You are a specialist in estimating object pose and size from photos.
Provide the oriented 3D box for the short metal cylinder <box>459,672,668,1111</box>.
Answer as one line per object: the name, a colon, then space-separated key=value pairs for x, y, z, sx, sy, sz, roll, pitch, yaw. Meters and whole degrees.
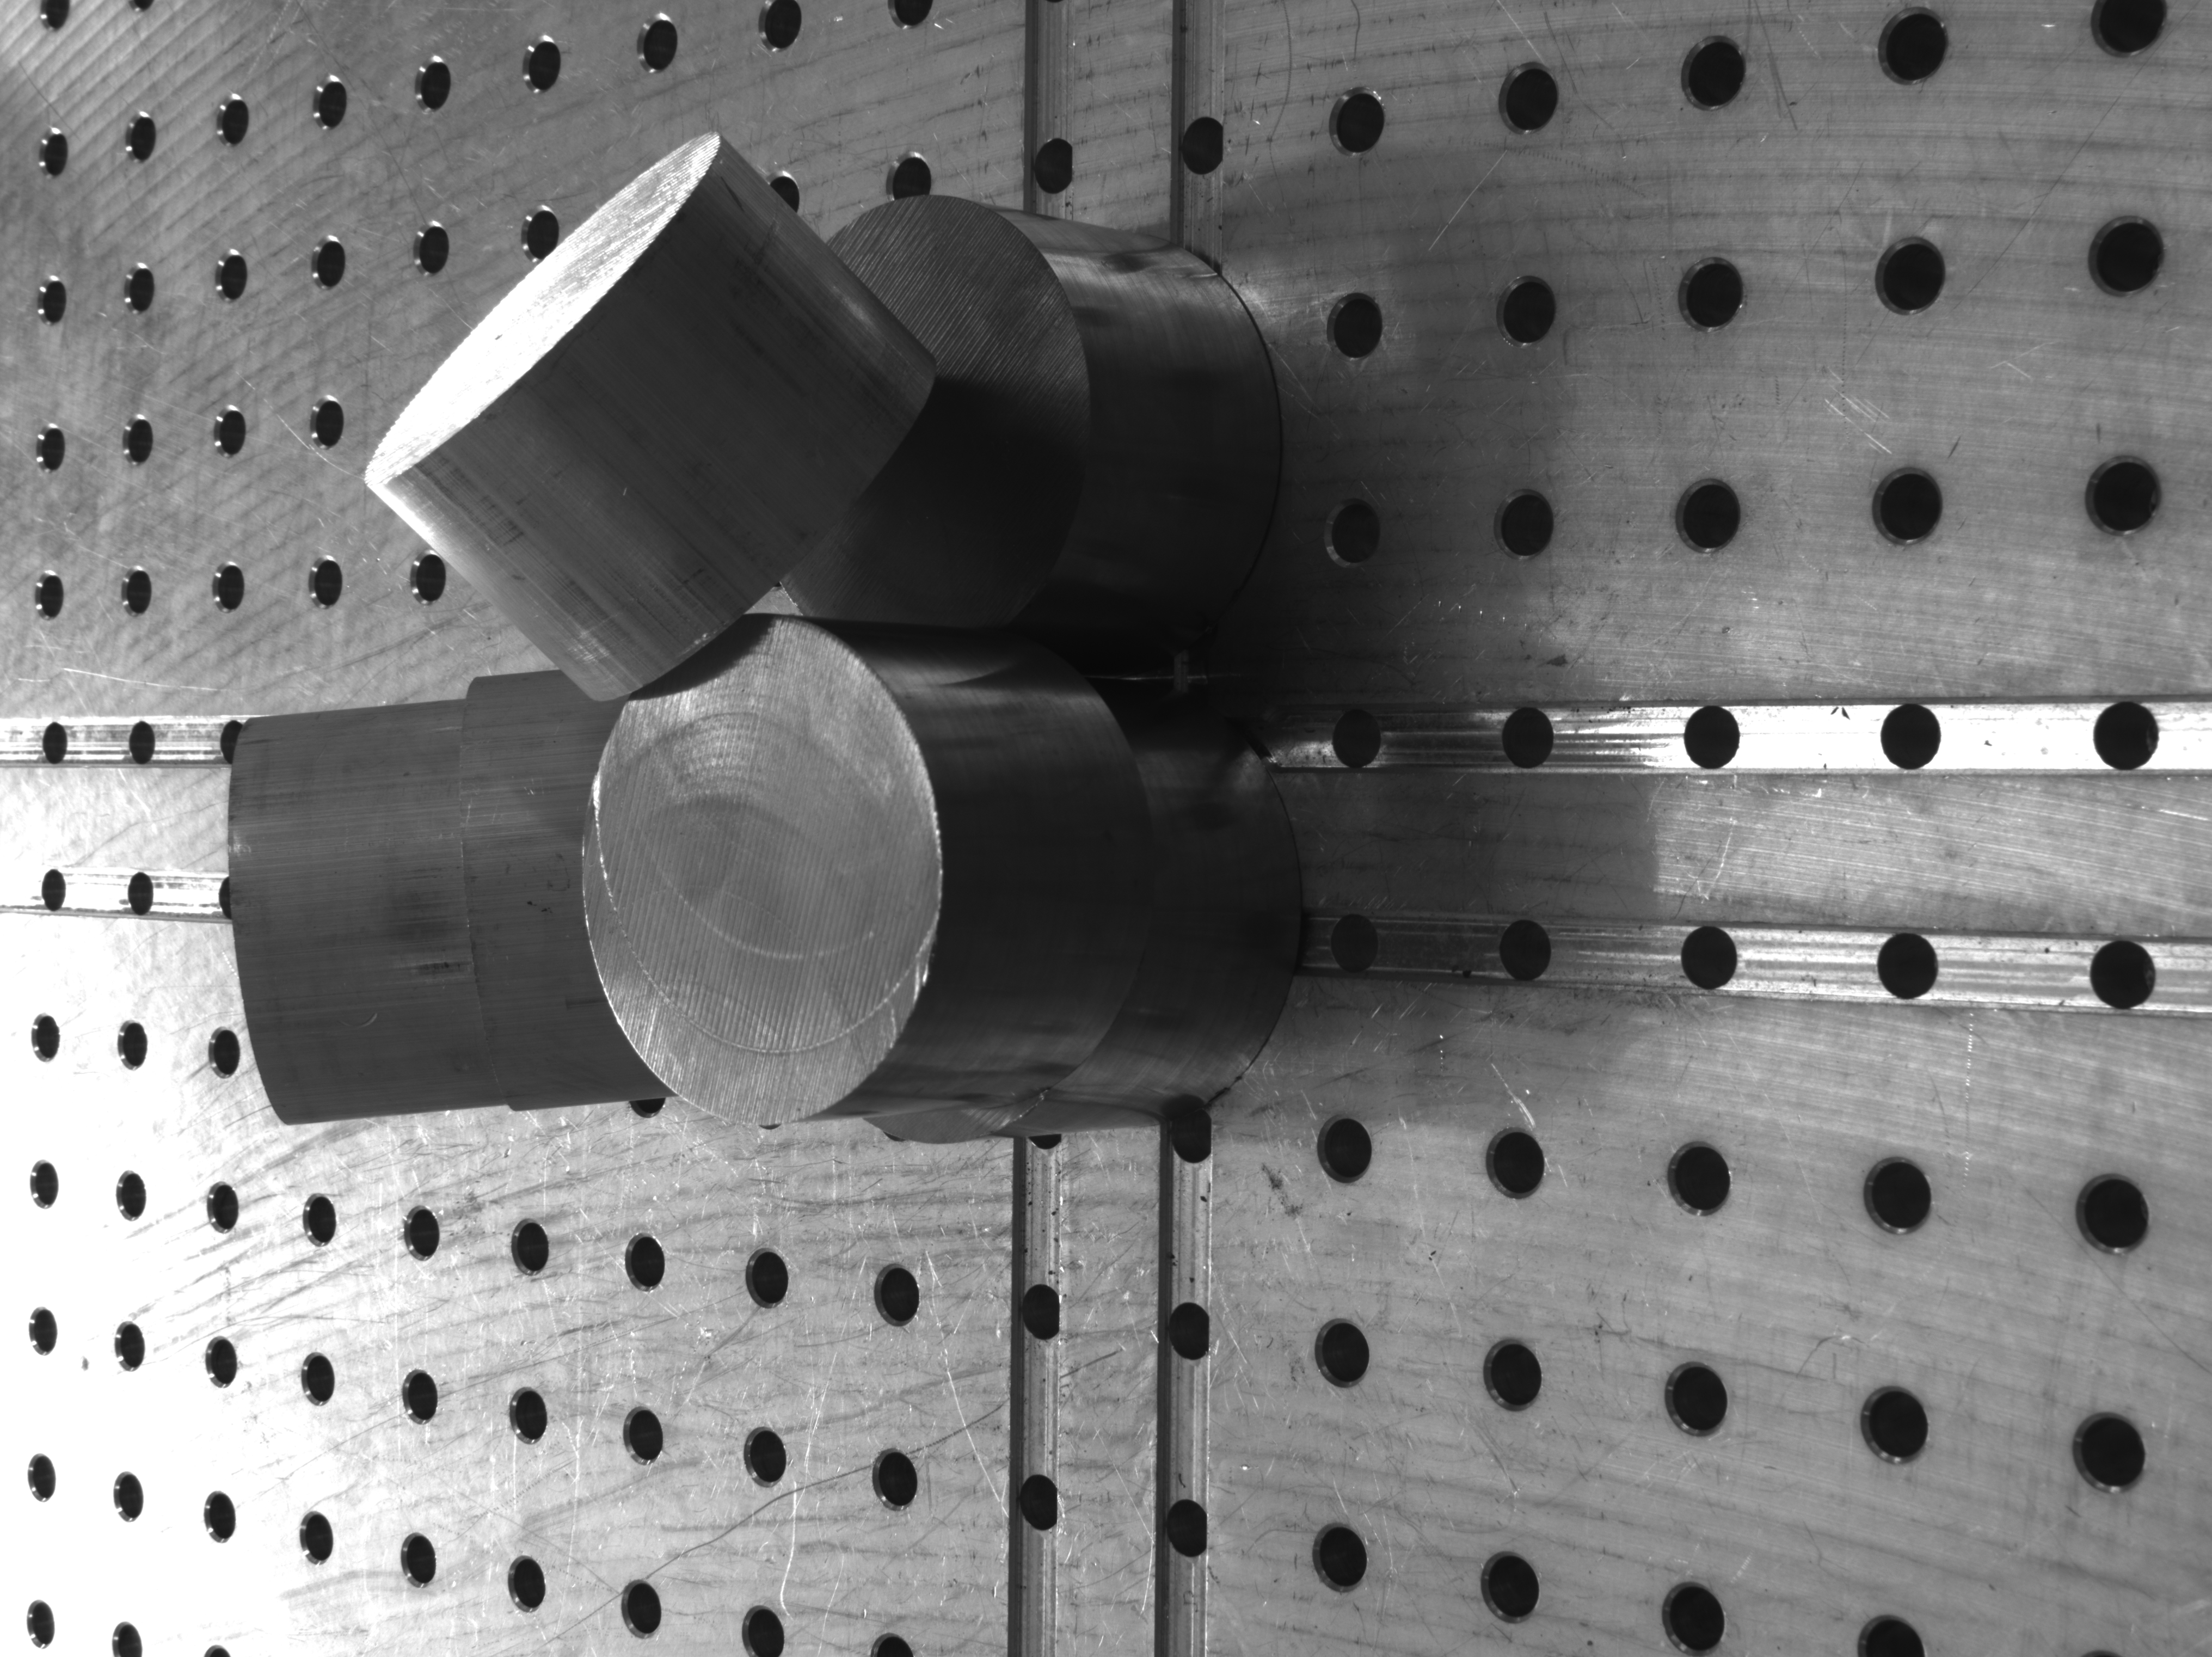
short metal cylinder: x=-0.086 y=0.010 z=0.676 sx=0.050 sy=0.080 sz=0.080 roll=-5 pitch=85 yaw=-1

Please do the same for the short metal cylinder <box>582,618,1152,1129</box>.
short metal cylinder: x=-0.039 y=0.007 z=0.597 sx=0.080 sy=0.050 sz=0.080 roll=0 pitch=90 yaw=40

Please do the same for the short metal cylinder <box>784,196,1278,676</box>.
short metal cylinder: x=-0.017 y=-0.067 z=0.646 sx=0.080 sy=0.050 sz=0.080 roll=0 pitch=90 yaw=40

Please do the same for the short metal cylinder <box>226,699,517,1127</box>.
short metal cylinder: x=-0.138 y=0.016 z=0.720 sx=0.050 sy=0.080 sz=0.080 roll=-6 pitch=85 yaw=-2

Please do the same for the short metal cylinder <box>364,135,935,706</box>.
short metal cylinder: x=-0.074 y=-0.066 z=0.600 sx=0.080 sy=0.080 sz=0.050 roll=-30 pitch=114 yaw=36

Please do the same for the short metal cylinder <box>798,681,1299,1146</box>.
short metal cylinder: x=-0.013 y=0.014 z=0.642 sx=0.080 sy=0.050 sz=0.080 roll=0 pitch=90 yaw=40
